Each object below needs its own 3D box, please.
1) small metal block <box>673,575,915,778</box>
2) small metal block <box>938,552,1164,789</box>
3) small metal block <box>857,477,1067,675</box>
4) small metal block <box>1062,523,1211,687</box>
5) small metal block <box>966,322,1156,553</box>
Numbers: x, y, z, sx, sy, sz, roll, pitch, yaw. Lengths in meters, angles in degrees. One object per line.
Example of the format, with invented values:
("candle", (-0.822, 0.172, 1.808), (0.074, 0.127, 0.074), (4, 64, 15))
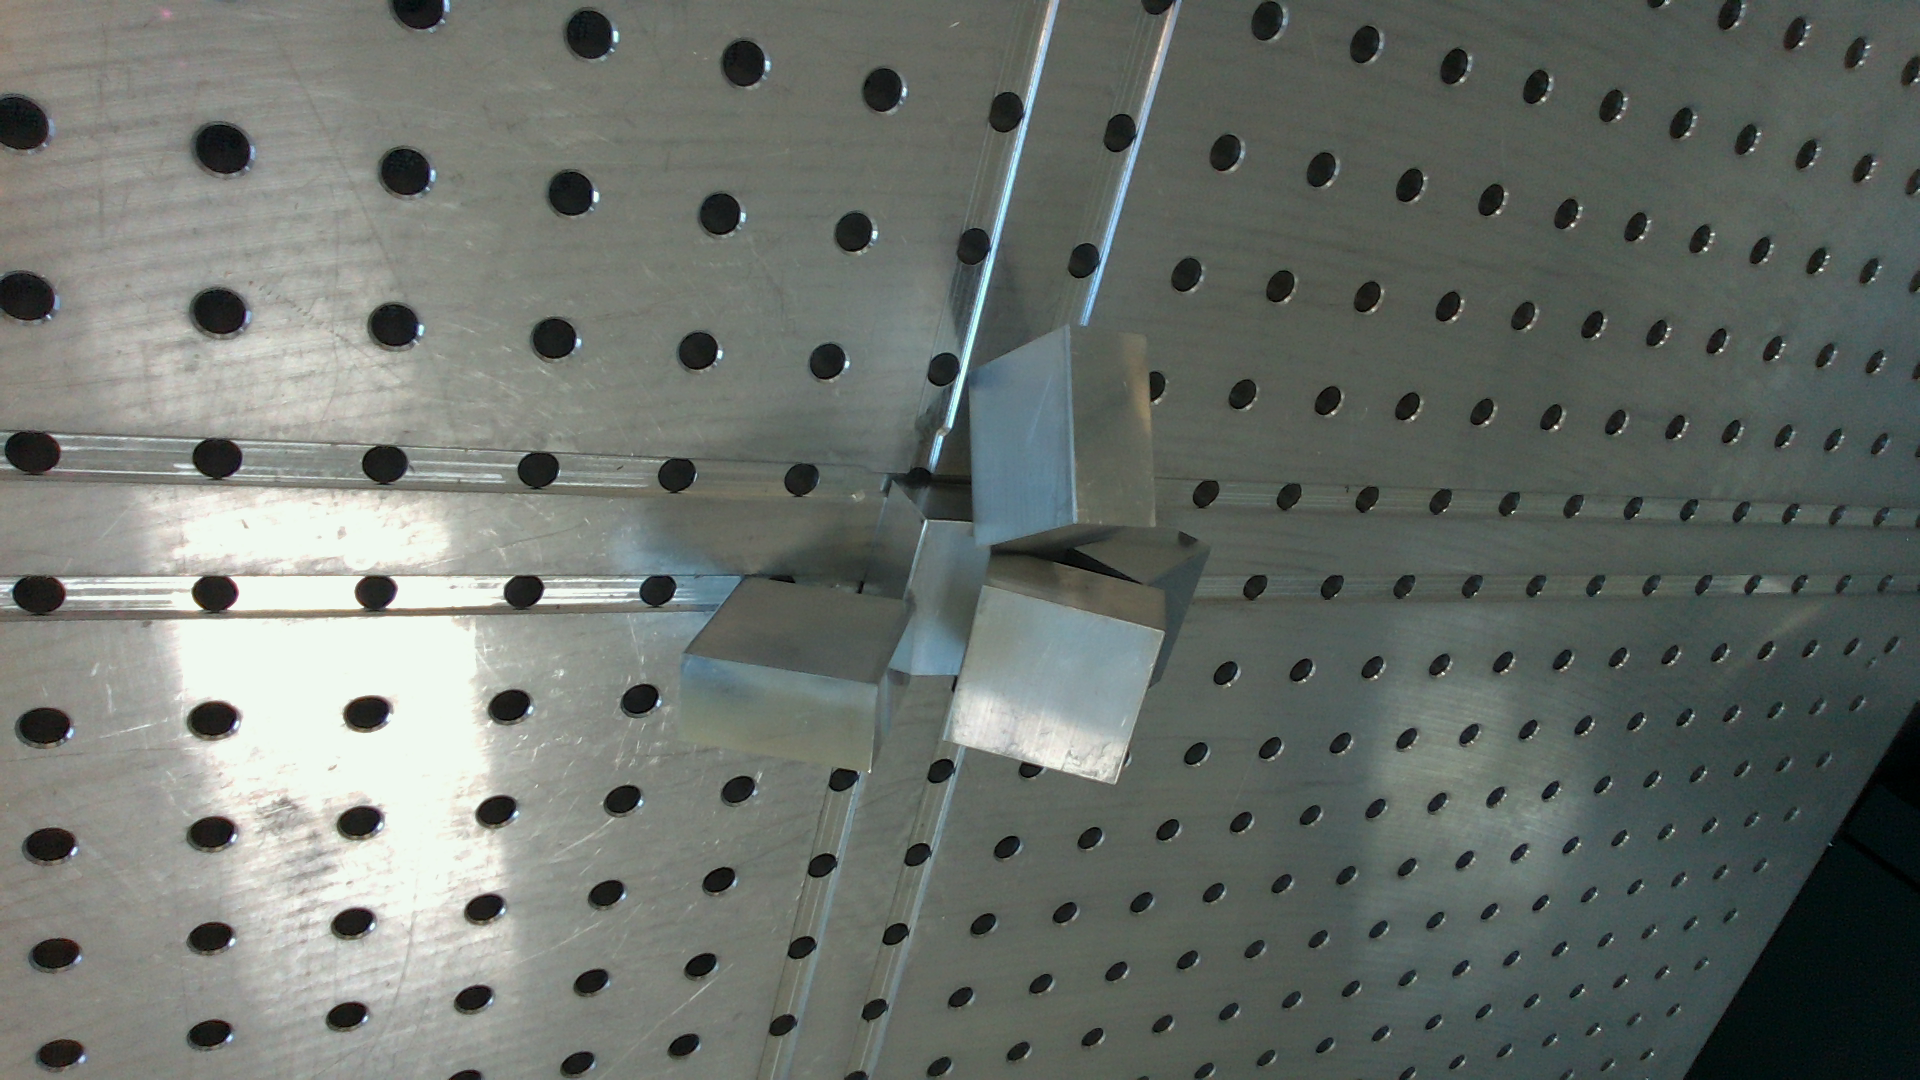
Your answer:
("small metal block", (-0.042, 0.034, 0.361), (0.050, 0.050, 0.025), (9, 113, 6))
("small metal block", (0.025, 0.035, 0.380), (0.050, 0.025, 0.050), (14, 115, 1))
("small metal block", (0.000, 0.011, 0.399), (0.050, 0.025, 0.050), (2, 117, -29))
("small metal block", (0.047, 0.024, 0.418), (0.050, 0.025, 0.050), (-22, 134, -55))
("small metal block", (0.025, -0.025, 0.361), (0.025, 0.050, 0.050), (3, 81, -29))
